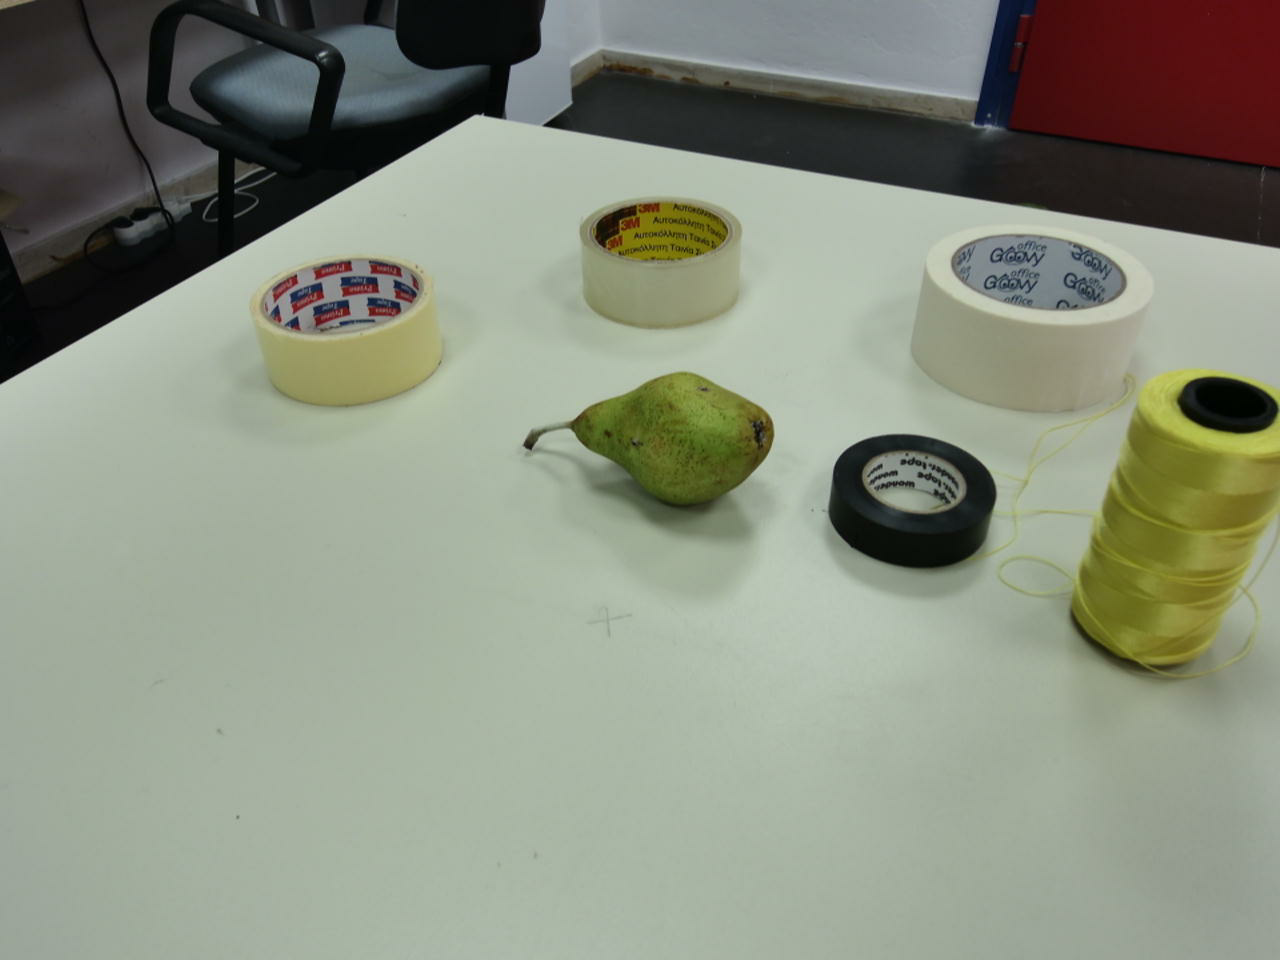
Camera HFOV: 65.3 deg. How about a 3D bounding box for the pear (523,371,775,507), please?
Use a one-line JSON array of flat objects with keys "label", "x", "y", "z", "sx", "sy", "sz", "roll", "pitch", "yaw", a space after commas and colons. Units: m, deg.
[{"label": "pear", "x": 0.005, "y": -0.025, "z": 0.434, "sx": 0.111, "sy": 0.056, "sz": 0.056, "roll": 29, "pitch": 46, "yaw": 33}]
